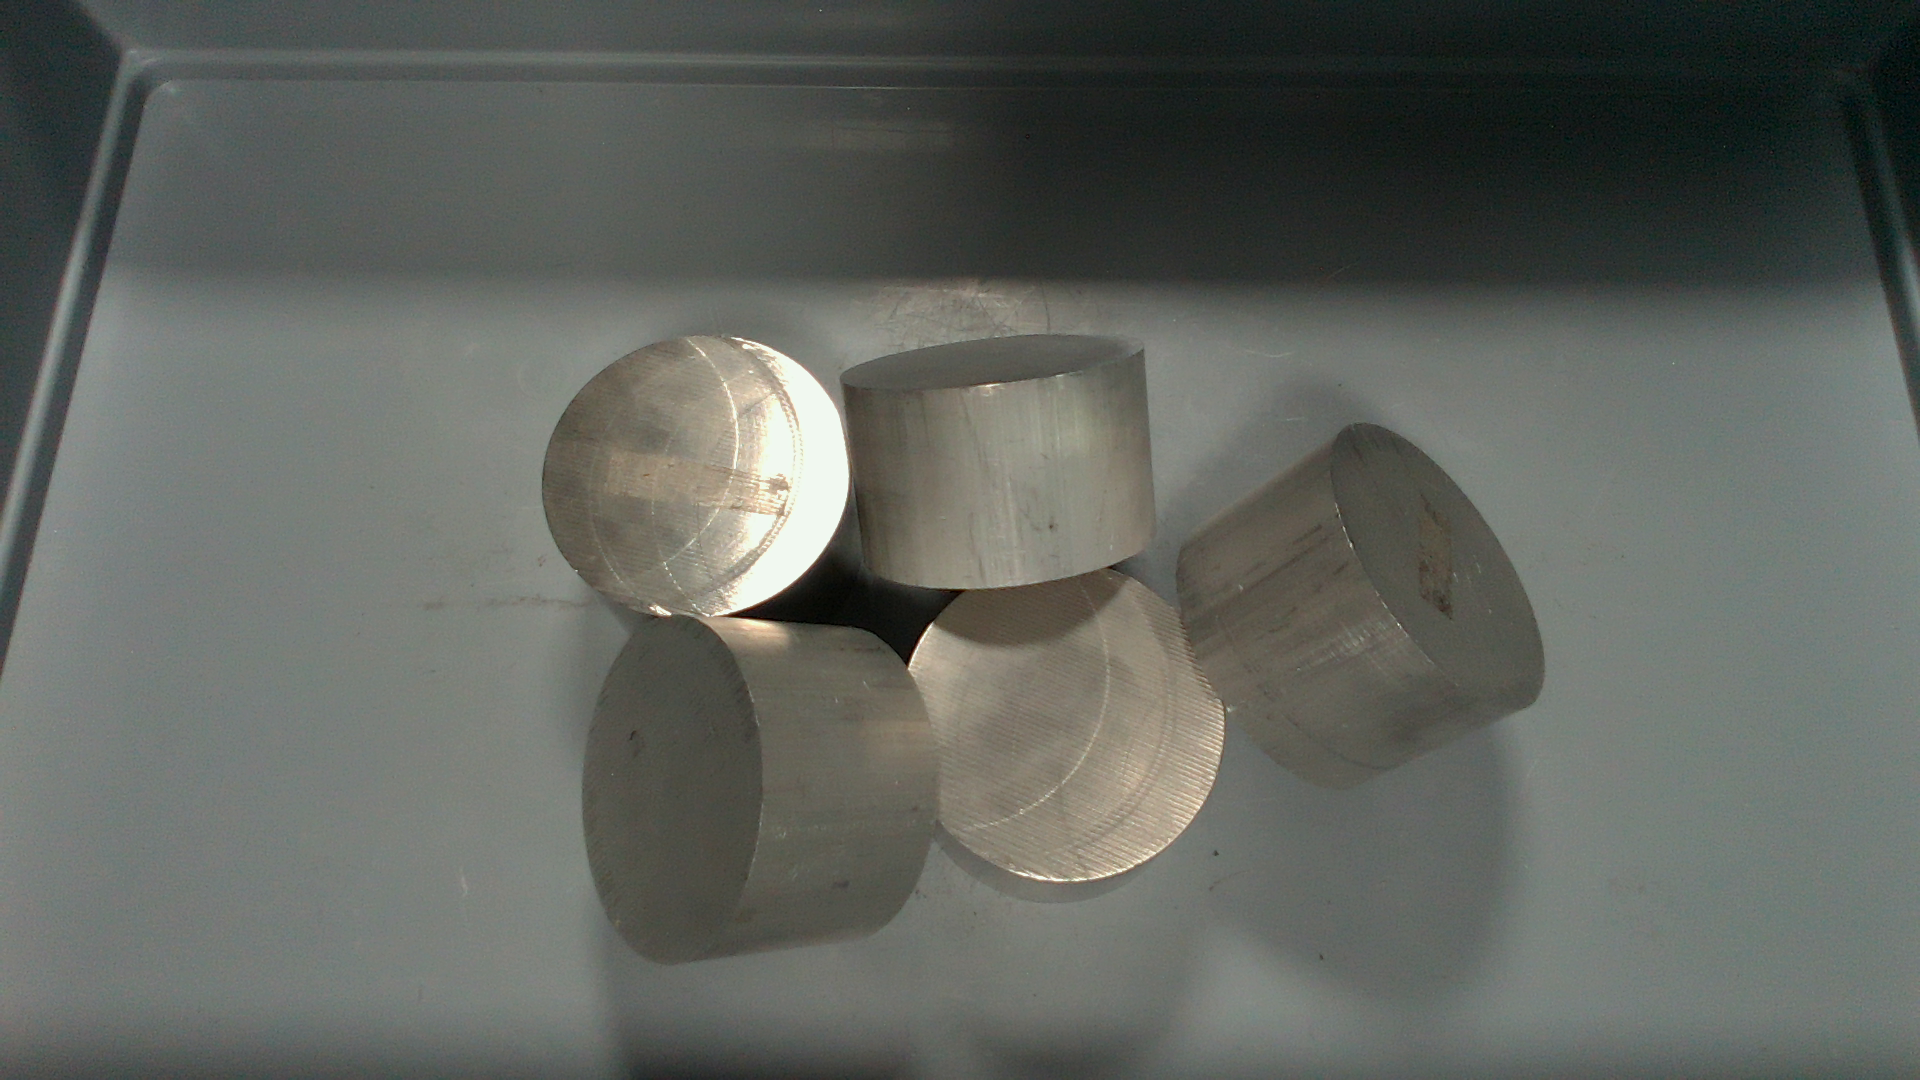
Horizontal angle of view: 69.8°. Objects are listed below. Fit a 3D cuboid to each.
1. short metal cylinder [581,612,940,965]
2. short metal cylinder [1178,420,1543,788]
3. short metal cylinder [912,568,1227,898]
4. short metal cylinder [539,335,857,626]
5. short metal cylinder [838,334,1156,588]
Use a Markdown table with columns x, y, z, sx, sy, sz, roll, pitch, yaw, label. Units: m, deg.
| x | y | z | sx | sy | sz | roll | pitch | yaw | label |
| --- | --- | --- | --- | --- | --- | --- | --- | --- | --- |
| -0.050 | 0.059 | 0.335 | 0.050 | 0.080 | 0.080 | 7 | 63 | -43 | short metal cylinder |
| 0.102 | 0.016 | 0.352 | 0.080 | 0.050 | 0.080 | 27 | 45 | -29 | short metal cylinder |
| 0.026 | 0.052 | 0.361 | 0.080 | 0.050 | 0.080 | 0 | 70 | 0 | short metal cylinder |
| -0.069 | -0.010 | 0.382 | 0.080 | 0.050 | 0.080 | 0 | 70 | 0 | short metal cylinder |
| 0.011 | -0.024 | 0.365 | 0.080 | 0.080 | 0.050 | -8 | 106 | -3 | short metal cylinder |
